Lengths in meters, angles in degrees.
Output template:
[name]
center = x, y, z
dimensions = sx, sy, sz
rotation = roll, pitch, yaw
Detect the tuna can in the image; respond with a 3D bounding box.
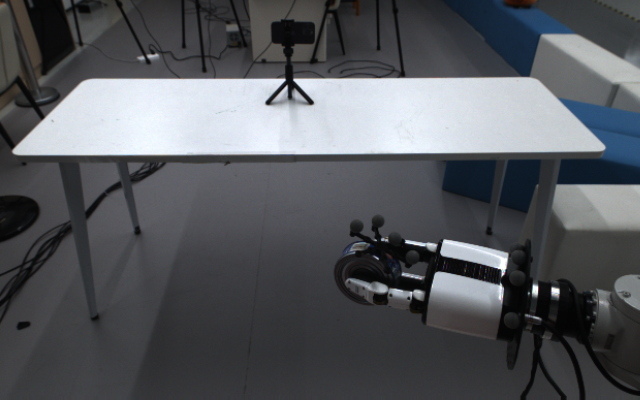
[tuna can]
center = 0.066, 0.104, 0.640
dimensions = 0.085, 0.085, 0.034
rotation = 15, 31, 18
